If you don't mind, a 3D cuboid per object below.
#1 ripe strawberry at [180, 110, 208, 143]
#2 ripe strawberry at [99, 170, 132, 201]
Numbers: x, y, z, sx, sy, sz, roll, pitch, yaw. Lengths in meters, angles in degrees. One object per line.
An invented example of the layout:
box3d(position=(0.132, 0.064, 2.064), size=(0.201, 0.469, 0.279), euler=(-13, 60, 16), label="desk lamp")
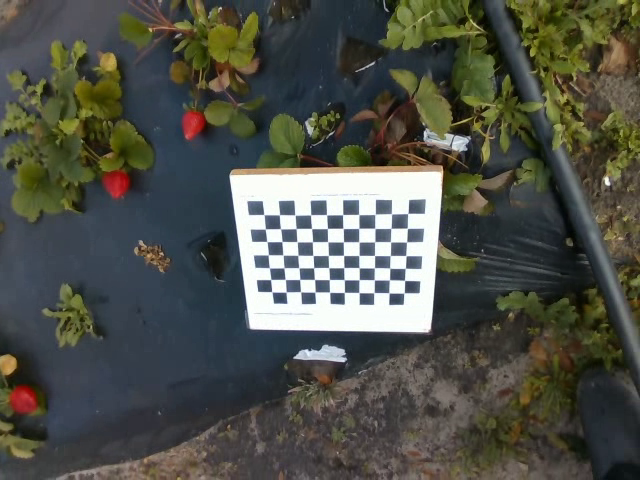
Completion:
box3d(position=(-0.188, -0.164, 0.850), size=(0.044, 0.052, 0.041), euler=(16, -16, -14), label="ripe strawberry")
box3d(position=(-0.314, -0.082, 0.895), size=(0.050, 0.050, 0.046), euler=(-3, -41, -3), label="ripe strawberry")
